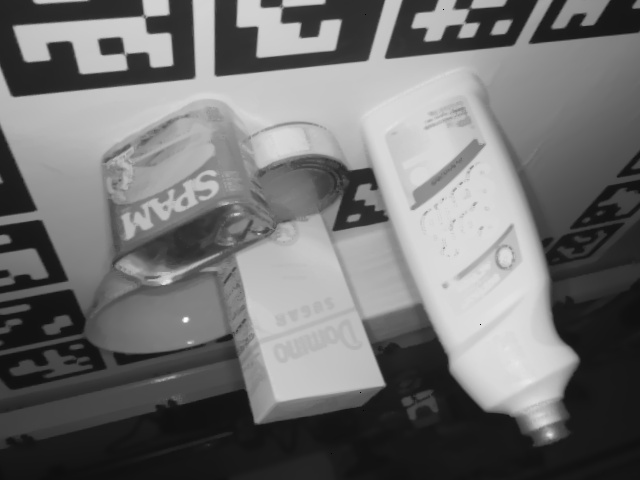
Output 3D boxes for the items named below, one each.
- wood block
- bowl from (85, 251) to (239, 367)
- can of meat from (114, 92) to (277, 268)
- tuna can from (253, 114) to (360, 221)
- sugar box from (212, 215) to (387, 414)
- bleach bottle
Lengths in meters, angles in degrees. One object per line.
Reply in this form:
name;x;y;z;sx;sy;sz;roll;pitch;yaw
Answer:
wood block;0.119;0.046;0.715;0.207;0.090;0.090;-14;143;-7
bowl;-0.127;0.050;0.614;0.163;0.055;0.160;-18;149;-10
can of meat;-0.089;-0.042;0.478;0.101;0.084;0.058;-25;150;11
tuna can;-0.015;-0.055;0.532;0.086;0.034;0.085;-15;144;-10
sugar box;-0.024;0.040;0.537;0.094;0.176;0.044;1;140;-35
bleach bottle;0.112;-0.001;0.485;0.102;0.251;0.068;-23;148;6
